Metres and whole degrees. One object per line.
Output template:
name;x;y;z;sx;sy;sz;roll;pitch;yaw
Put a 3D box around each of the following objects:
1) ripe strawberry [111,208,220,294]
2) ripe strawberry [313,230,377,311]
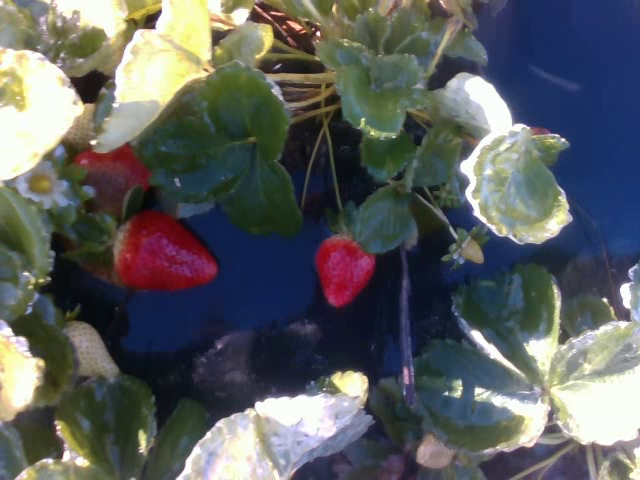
ripe strawberry;-0.078;0.013;0.332;0.056;0.044;0.040;25;7;-23
ripe strawberry;0.015;0.018;0.349;0.039;0.047;0.040;13;0;-21
